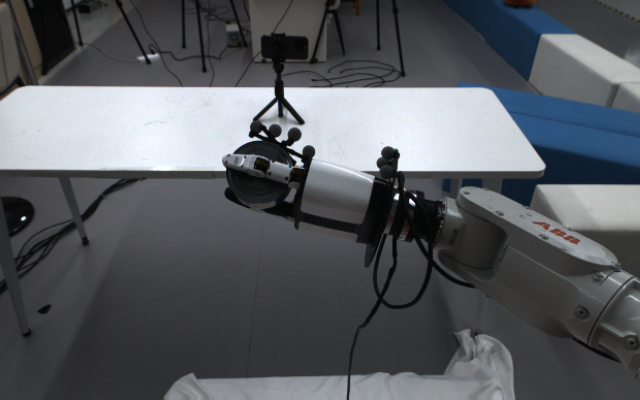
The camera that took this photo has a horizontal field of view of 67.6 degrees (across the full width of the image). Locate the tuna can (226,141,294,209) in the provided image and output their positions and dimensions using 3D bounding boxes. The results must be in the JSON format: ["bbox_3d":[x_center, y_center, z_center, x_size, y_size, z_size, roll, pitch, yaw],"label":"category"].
[{"bbox_3d":[-0.076,-0.033,0.634,0.085,0.034,0.085,0,72,0],"label":"tuna can"}]
